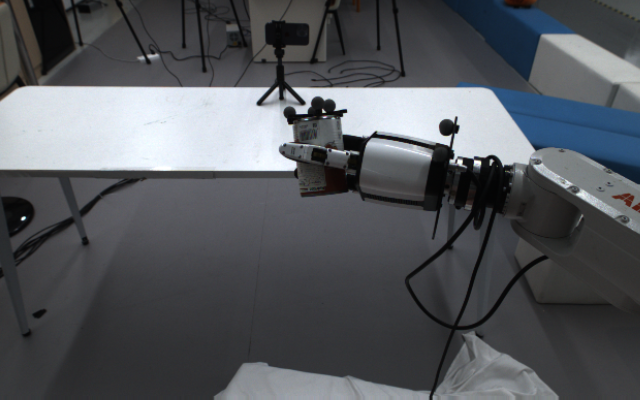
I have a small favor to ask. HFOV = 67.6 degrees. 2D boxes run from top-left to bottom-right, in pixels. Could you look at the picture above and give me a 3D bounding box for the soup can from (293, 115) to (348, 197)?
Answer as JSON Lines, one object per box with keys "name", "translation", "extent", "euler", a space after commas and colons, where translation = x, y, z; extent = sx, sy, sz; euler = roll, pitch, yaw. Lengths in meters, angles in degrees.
{"name": "soup can", "translation": [0.001, -0.058, 0.653], "extent": [0.067, 0.101, 0.067], "euler": [-7, 3, 0]}
